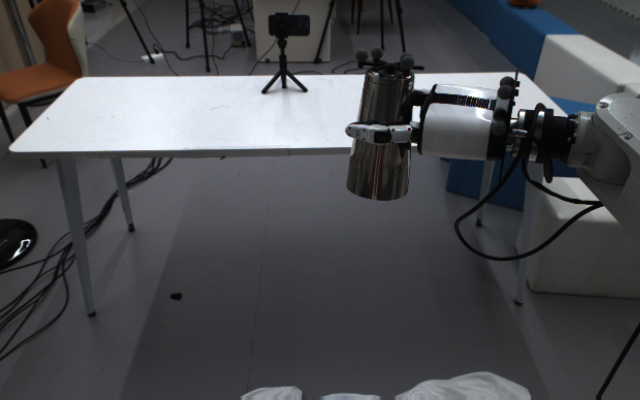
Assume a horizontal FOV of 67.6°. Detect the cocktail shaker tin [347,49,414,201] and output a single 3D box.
[{"bbox_3d":[0.090,-0.097,0.686,0.093,0.170,0.093,2,26,-1],"label":"cocktail shaker tin"}]
